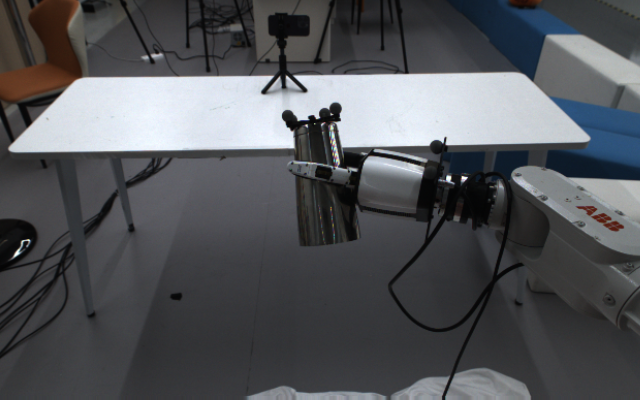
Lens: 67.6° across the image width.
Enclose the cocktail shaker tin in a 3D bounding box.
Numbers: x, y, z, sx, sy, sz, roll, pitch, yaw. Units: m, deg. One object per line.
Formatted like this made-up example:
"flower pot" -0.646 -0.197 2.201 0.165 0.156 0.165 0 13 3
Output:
"cocktail shaker tin" 0.004 -0.023 0.712 0.093 0.170 0.093 -8 1 0
